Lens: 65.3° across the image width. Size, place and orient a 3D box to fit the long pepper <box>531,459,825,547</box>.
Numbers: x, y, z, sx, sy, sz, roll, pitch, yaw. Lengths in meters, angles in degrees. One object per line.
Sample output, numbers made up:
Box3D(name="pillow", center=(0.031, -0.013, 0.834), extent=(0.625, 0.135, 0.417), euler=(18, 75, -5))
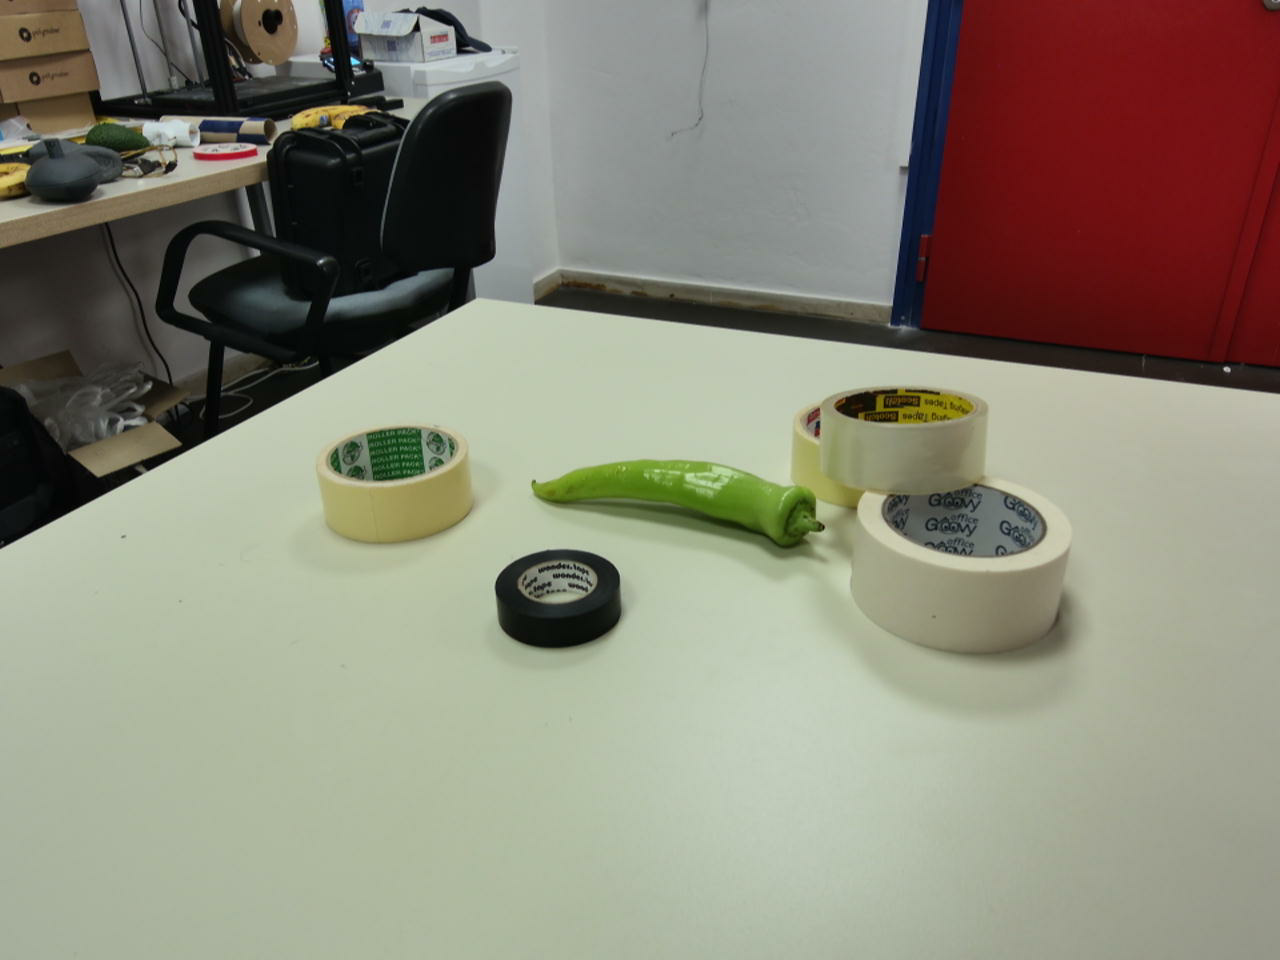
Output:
Box3D(name="long pepper", center=(0.022, 0.005, 0.611), extent=(0.197, 0.038, 0.046), euler=(12, 28, 24))
